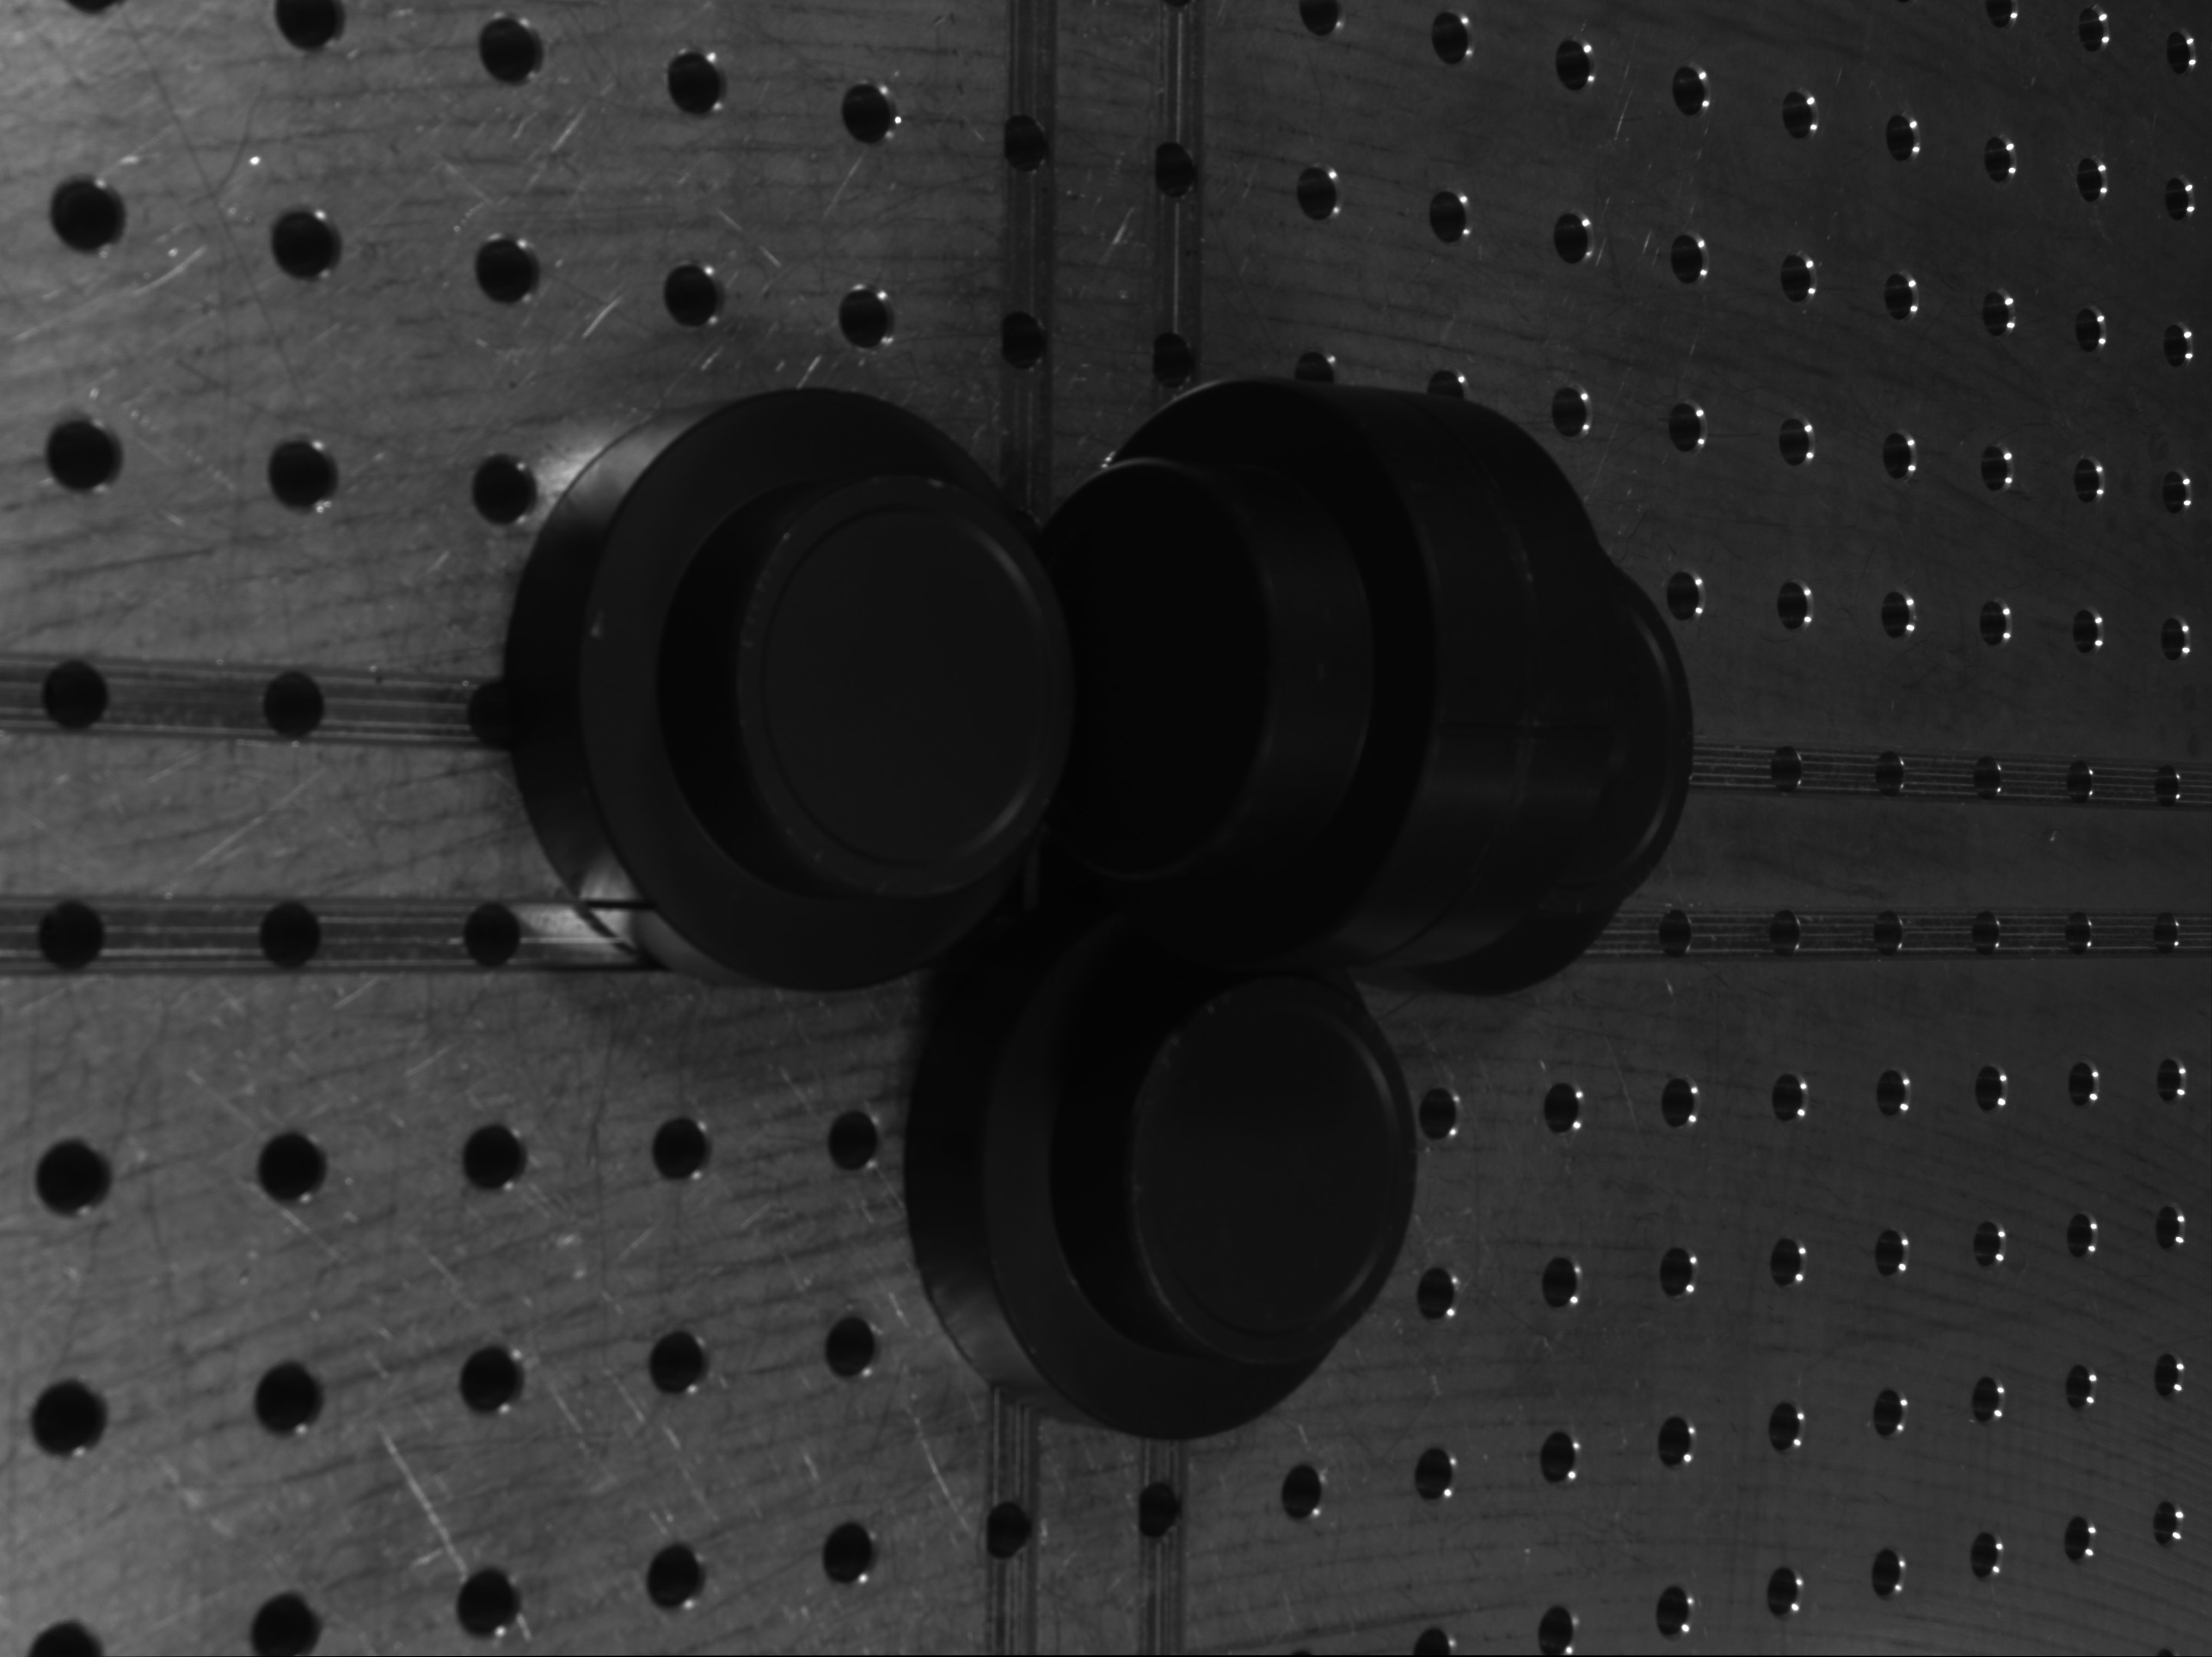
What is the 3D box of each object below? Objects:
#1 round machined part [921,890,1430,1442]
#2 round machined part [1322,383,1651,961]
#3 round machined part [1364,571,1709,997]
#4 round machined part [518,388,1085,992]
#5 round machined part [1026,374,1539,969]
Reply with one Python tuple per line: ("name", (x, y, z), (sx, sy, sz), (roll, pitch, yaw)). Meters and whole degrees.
("round machined part", (0.019, 0.059, 0.645), (0.098, 0.042, 0.098), (0, 90, -40))
("round machined part", (0.055, -0.026, 0.632), (0.042, 0.098, 0.098), (-1, 90, -40))
("round machined part", (0.076, -0.017, 0.692), (0.098, 0.042, 0.098), (0, 90, -40))
("round machined part", (-0.042, -0.022, 0.594), (0.098, 0.042, 0.098), (0, 90, -40))
("round machined part", (0.022, -0.026, 0.603), (0.042, 0.098, 0.098), (2, 89, -40))
